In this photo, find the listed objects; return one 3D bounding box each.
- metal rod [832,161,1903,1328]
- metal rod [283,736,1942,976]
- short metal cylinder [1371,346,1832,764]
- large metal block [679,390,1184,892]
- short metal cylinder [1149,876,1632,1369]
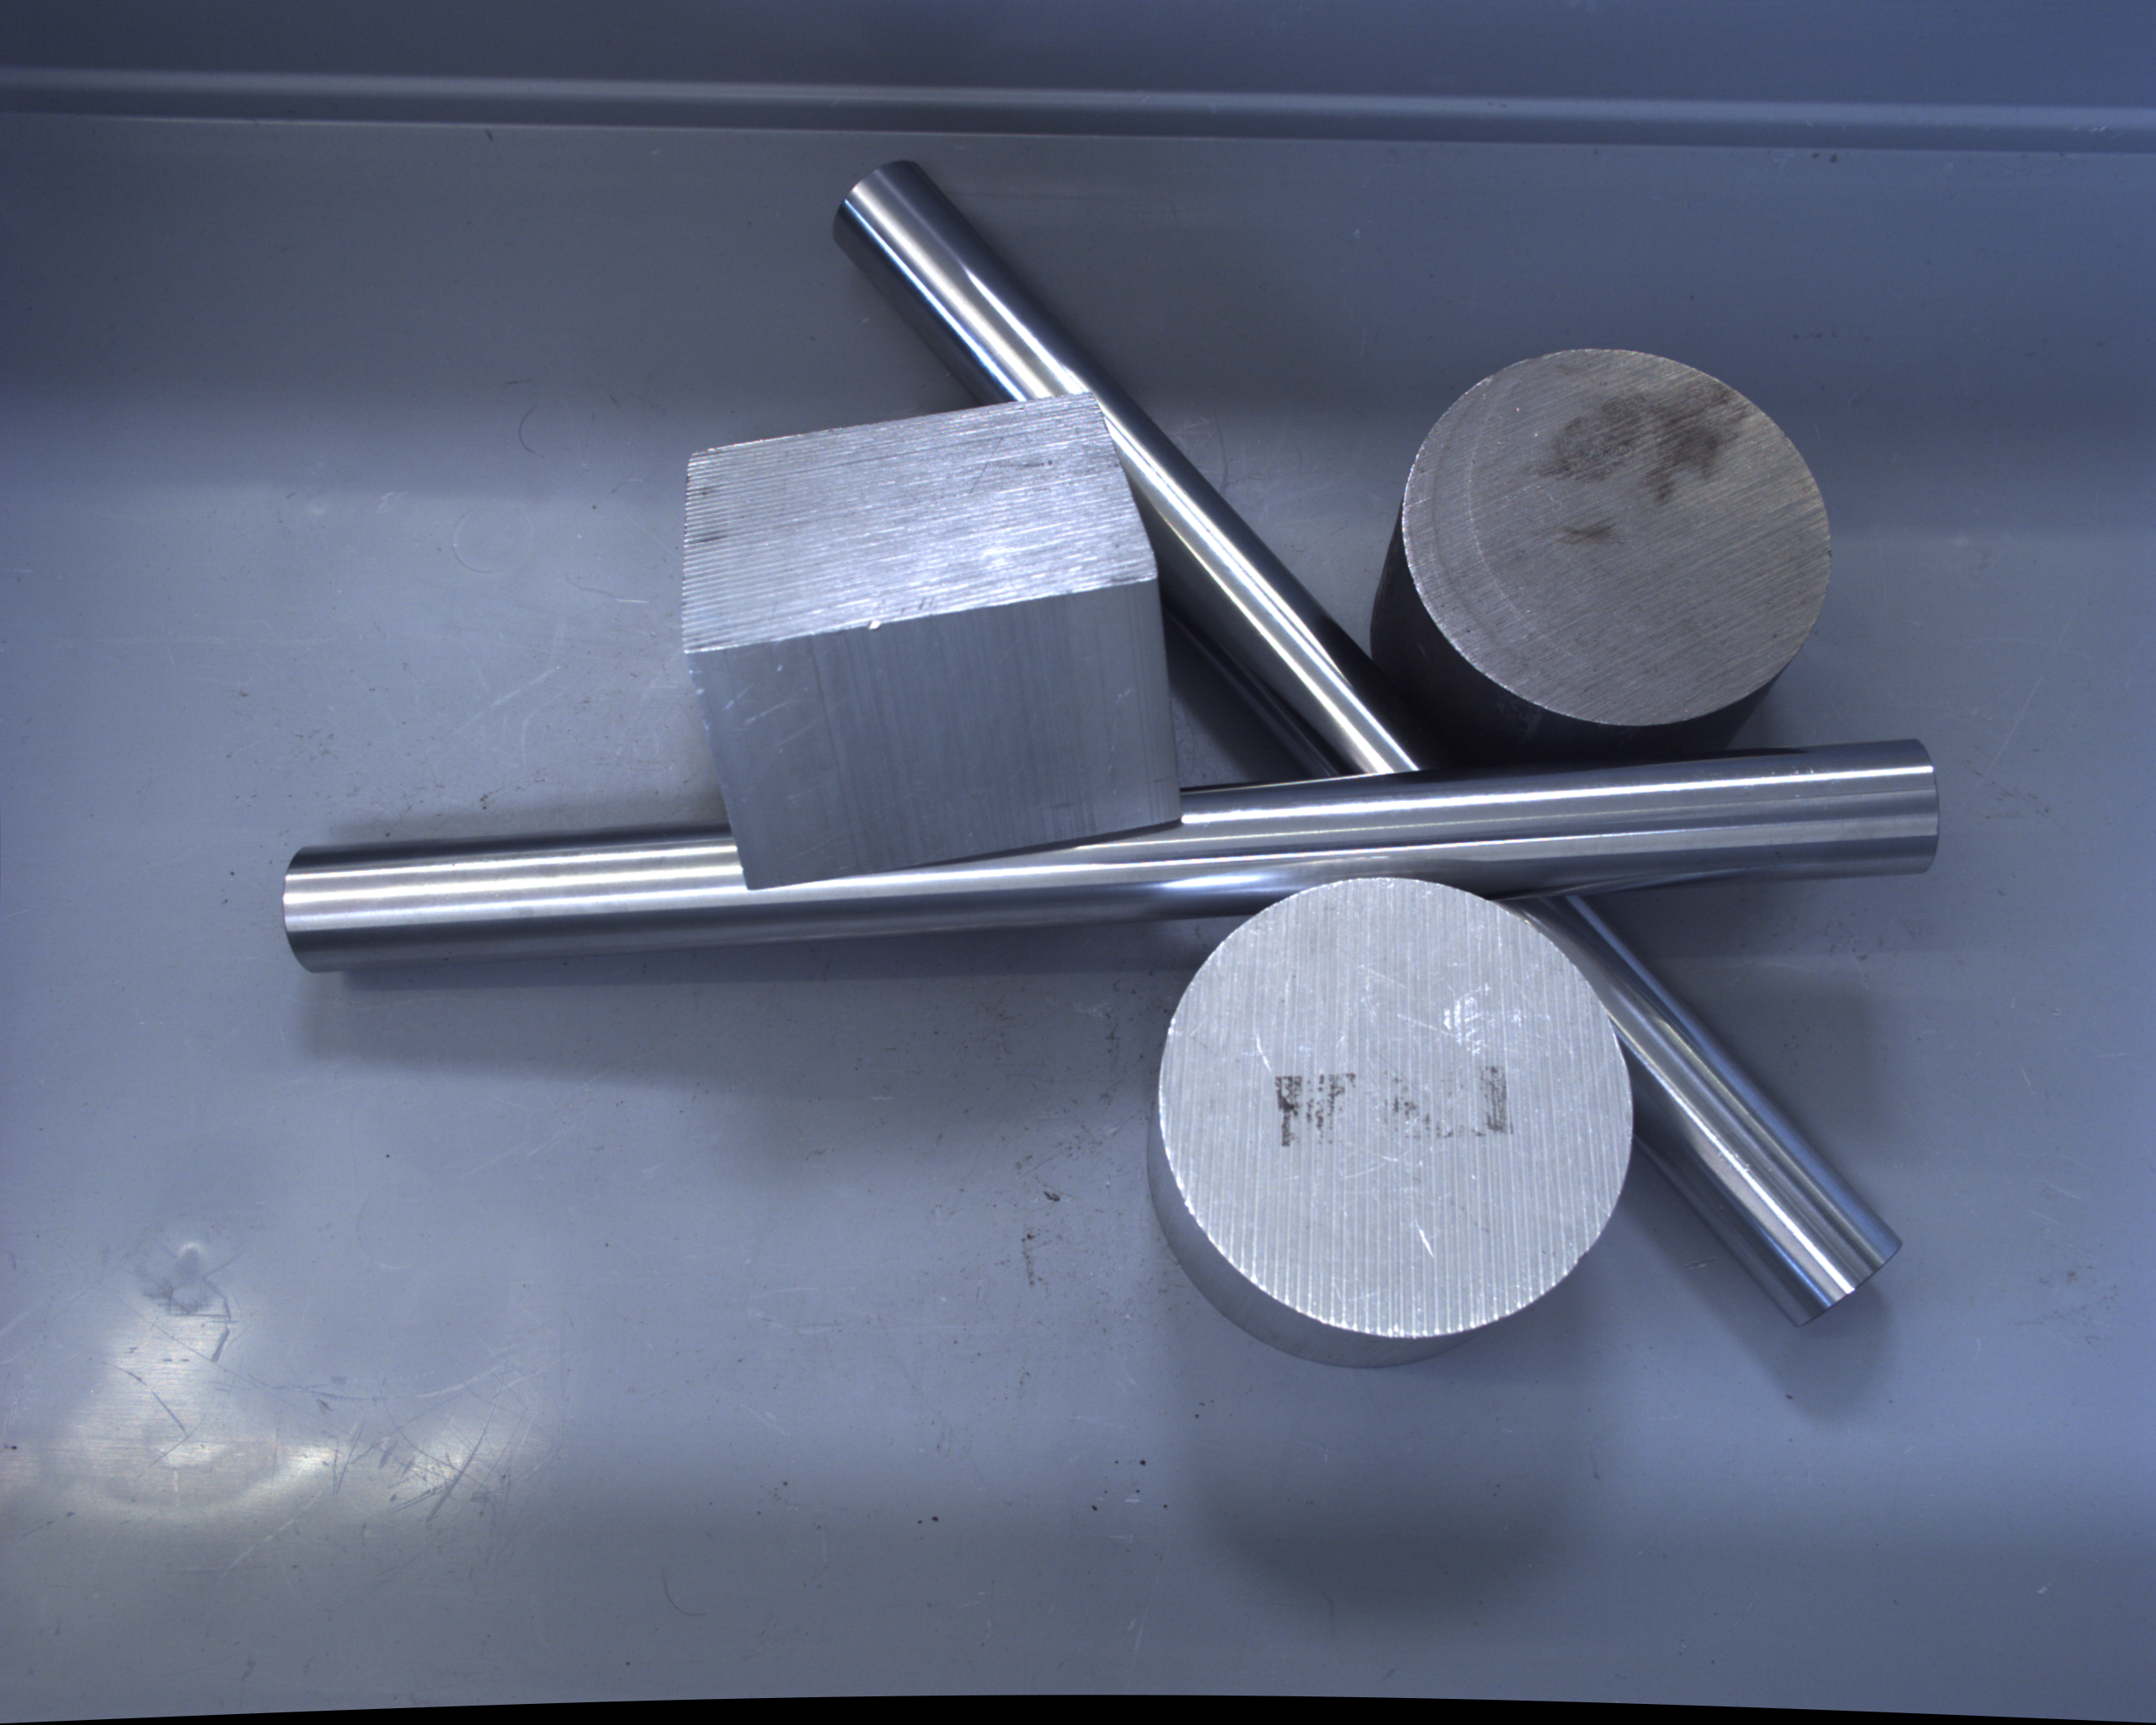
[{"bbox_3d":[0.048,-0.034,0.421,0.025,0.025,0.300,-36,74,-12],"label":"metal rod"},{"bbox_3d":[0.002,0.000,0.390,0.302,0.025,0.025,-4,70,5],"label":"metal rod"},{"bbox_3d":[0.101,-0.055,0.416,0.081,0.050,0.080,0,70,0],"label":"short metal cylinder"},{"bbox_3d":[-0.029,-0.044,0.391,0.081,0.050,0.080,-9,36,-3],"label":"large metal block"},{"bbox_3d":[0.054,0.048,0.377,0.081,0.050,0.080,0,70,0],"label":"short metal cylinder"}]
